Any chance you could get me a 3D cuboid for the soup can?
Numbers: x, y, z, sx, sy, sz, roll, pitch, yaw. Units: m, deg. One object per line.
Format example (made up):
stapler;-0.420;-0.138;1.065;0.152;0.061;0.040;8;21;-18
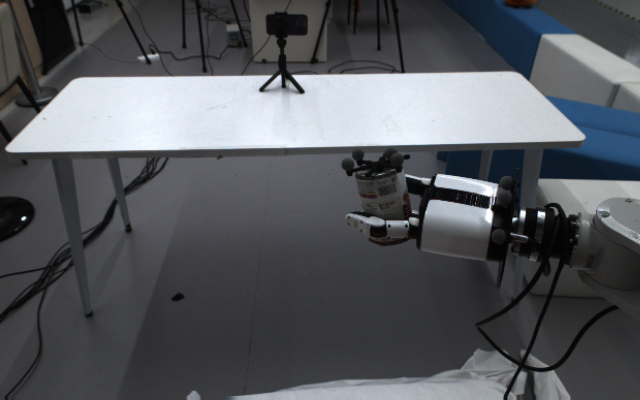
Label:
soup can;0.092;0.003;0.666;0.067;0.101;0.067;-13;20;5
